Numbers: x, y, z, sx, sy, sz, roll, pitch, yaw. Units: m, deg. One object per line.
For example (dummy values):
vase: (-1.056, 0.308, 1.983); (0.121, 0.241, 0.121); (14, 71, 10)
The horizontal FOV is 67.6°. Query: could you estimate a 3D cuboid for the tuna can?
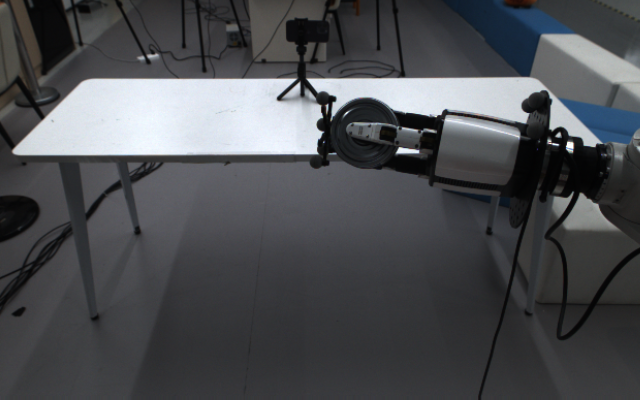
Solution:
tuna can: (0.059, -0.079, 0.594); (0.085, 0.085, 0.034); (10, 2, 11)
